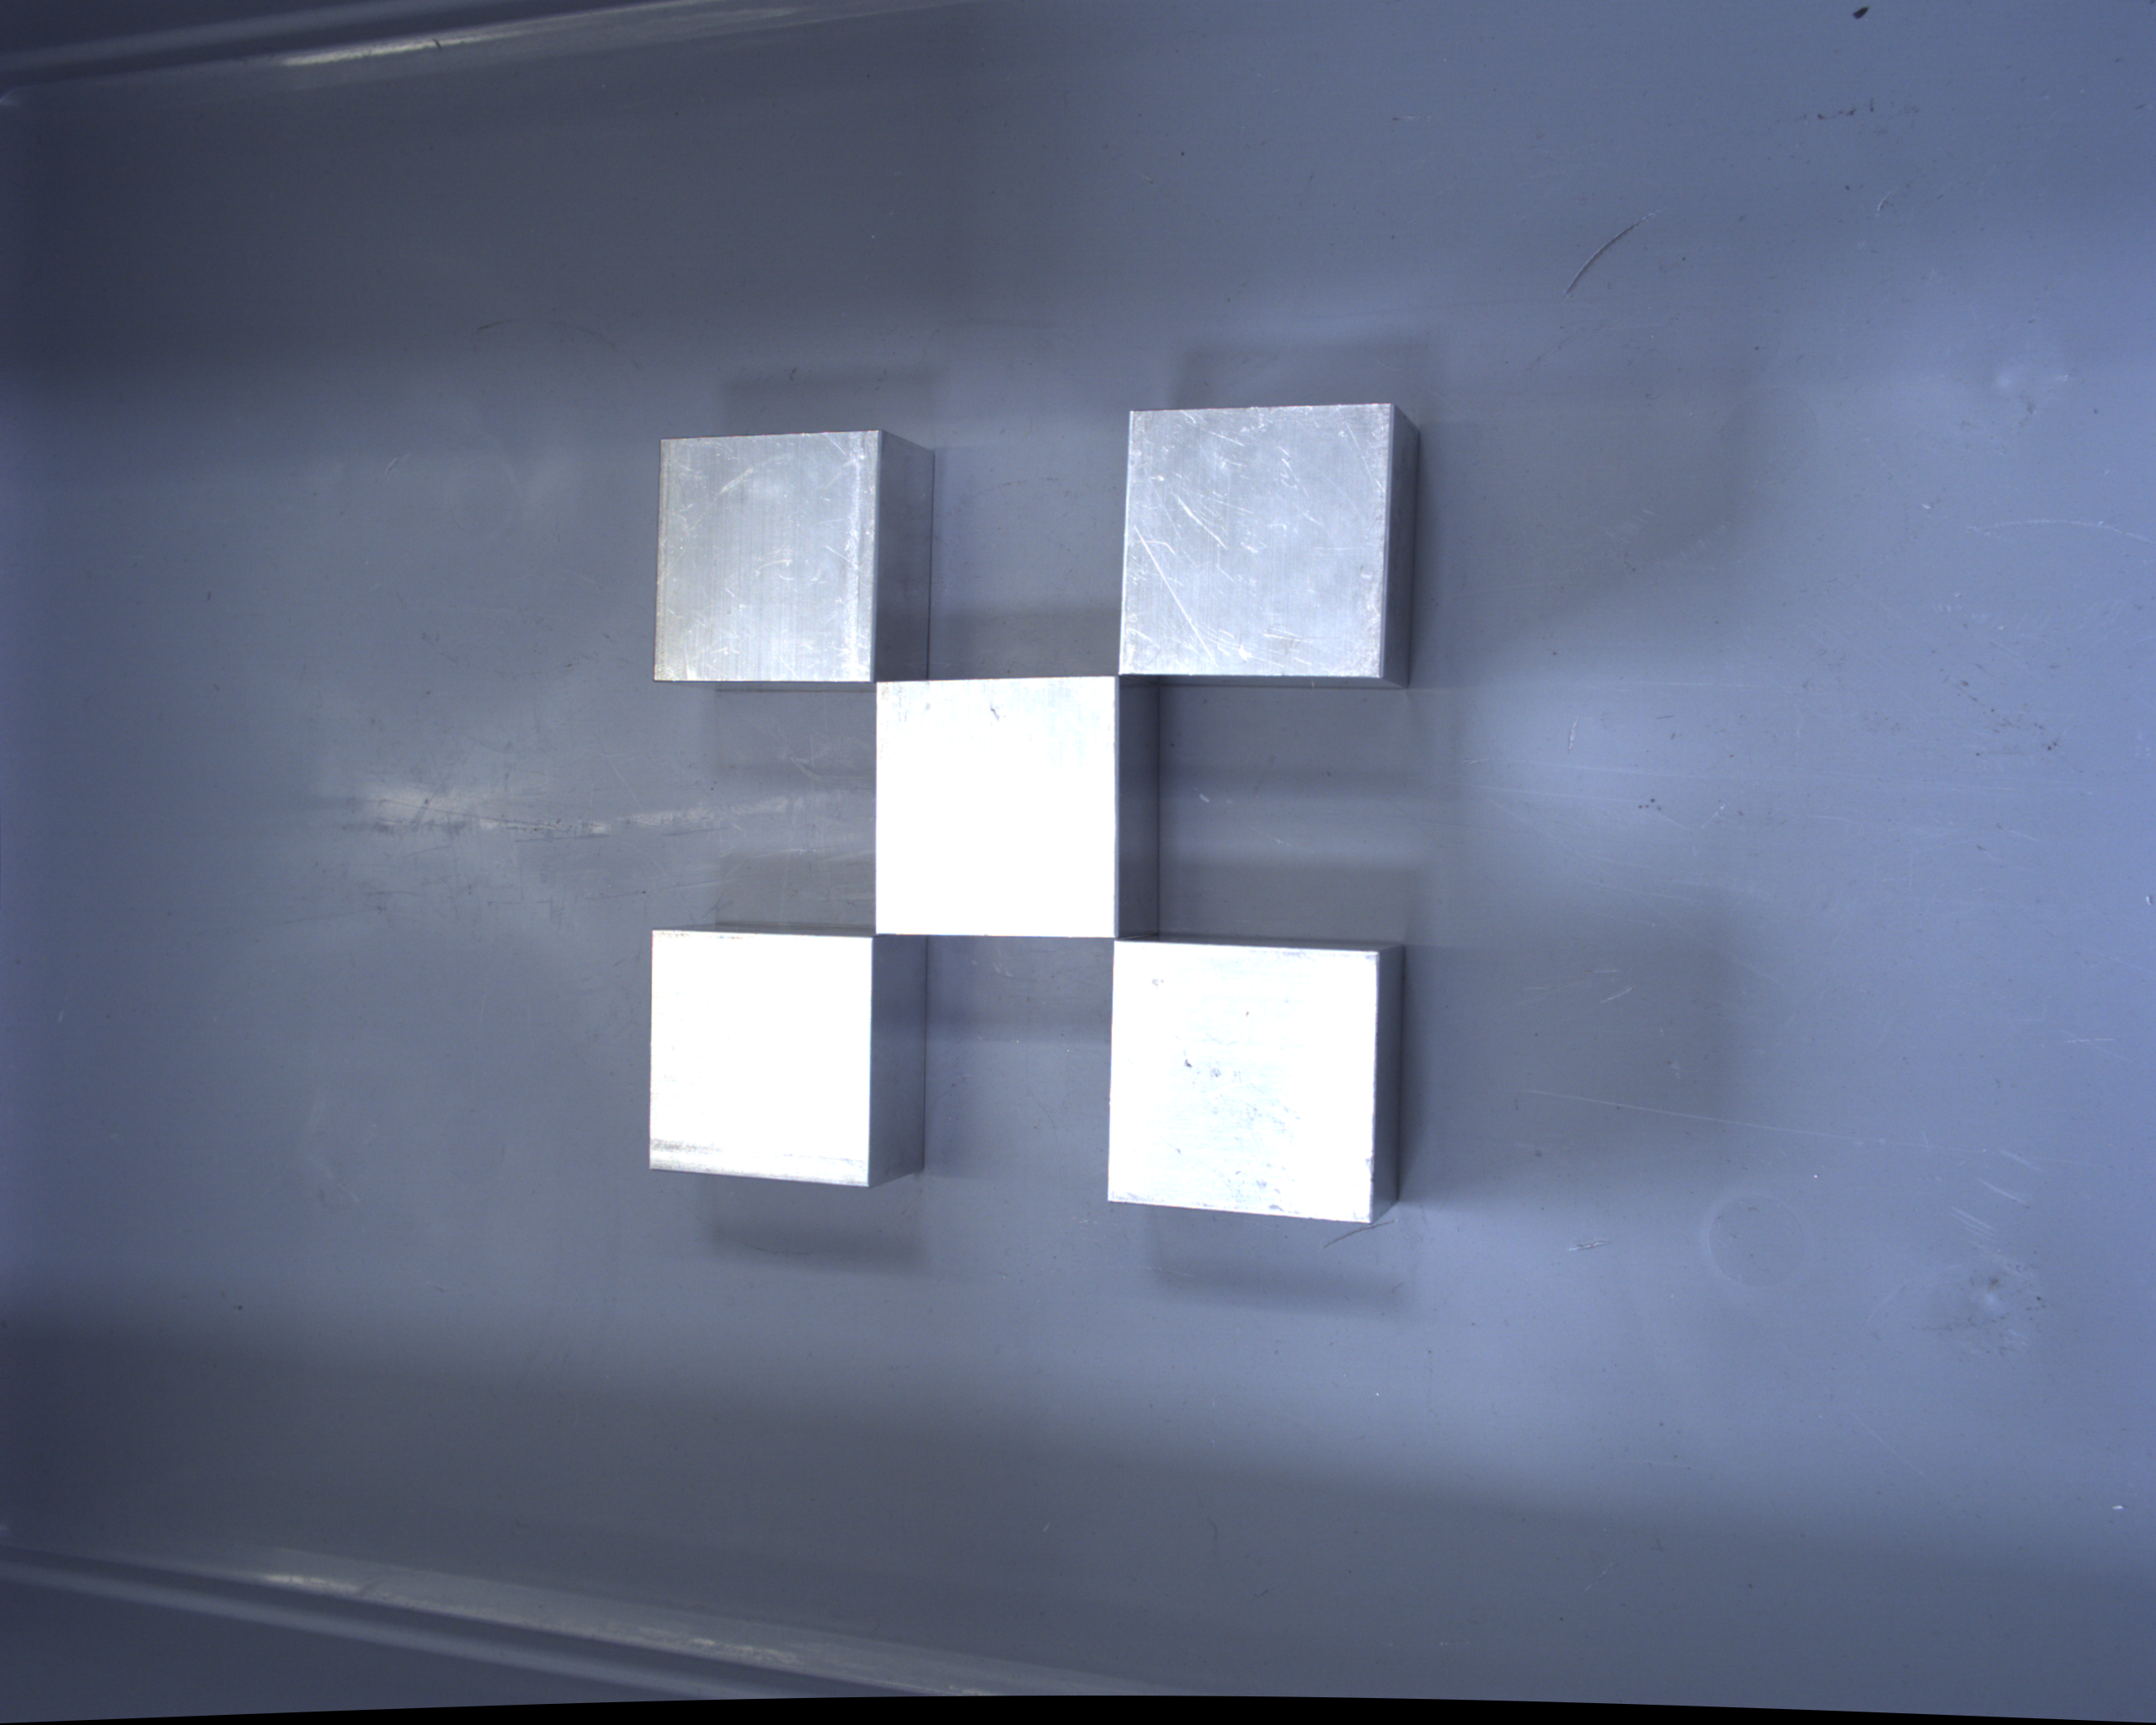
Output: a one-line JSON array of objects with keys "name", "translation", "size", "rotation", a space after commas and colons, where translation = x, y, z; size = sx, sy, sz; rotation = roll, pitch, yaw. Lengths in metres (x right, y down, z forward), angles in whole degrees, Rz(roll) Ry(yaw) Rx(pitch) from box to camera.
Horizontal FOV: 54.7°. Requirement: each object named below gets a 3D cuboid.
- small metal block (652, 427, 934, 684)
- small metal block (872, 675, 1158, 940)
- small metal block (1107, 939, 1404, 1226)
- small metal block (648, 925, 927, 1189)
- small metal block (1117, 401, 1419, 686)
[{"name": "small metal block", "translation": [-0.058, -0.061, 0.429], "size": [0.050, 0.025, 0.050], "rotation": [2, 91, 20]}, {"name": "small metal block", "translation": [-0.012, -0.011, 0.412], "size": [0.050, 0.025, 0.050], "rotation": [1, 90, 20]}, {"name": "small metal block", "translation": [0.034, 0.040, 0.396], "size": [0.050, 0.025, 0.050], "rotation": [1, 91, 20]}, {"name": "small metal block", "translation": [-0.060, 0.039, 0.429], "size": [0.050, 0.025, 0.050], "rotation": [1, 90, 20]}, {"name": "small metal block", "translation": [0.036, -0.059, 0.395], "size": [0.050, 0.025, 0.050], "rotation": [3, 91, 20]}]
